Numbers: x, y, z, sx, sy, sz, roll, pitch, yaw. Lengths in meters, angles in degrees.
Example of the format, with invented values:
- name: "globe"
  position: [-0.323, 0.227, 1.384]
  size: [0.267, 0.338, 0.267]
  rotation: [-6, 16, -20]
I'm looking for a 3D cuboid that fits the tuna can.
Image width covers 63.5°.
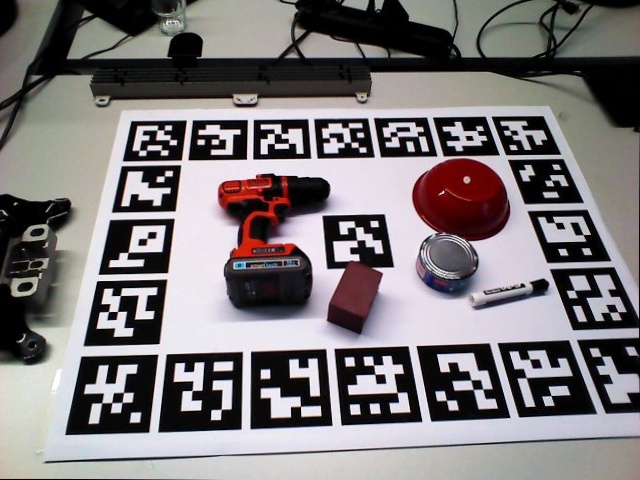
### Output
- name: "tuna can"
  position: [0.200, 0.029, 0.753]
  size: [0.086, 0.034, 0.085]
  rotation: [2, 55, -3]

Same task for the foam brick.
- name: "foam brick"
  position: [0.060, 0.082, 0.709]
  size: [0.051, 0.053, 0.077]
  rotation: [19, 58, 10]

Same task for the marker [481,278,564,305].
- name: "marker"
  position: [0.289, 0.072, 0.732]
  size: [0.121, 0.020, 0.019]
  rotation: [-10, 57, -9]

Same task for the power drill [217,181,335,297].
- name: "power drill"
  position: [-0.062, -0.009, 0.763]
  size: [0.184, 0.057, 0.186]
  rotation: [-1, 52, -7]

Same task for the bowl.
- name: "bowl"
  position: [0.242, -0.078, 0.829]
  size: [0.162, 0.055, 0.160]
  rotation: [-1, 48, 1]
